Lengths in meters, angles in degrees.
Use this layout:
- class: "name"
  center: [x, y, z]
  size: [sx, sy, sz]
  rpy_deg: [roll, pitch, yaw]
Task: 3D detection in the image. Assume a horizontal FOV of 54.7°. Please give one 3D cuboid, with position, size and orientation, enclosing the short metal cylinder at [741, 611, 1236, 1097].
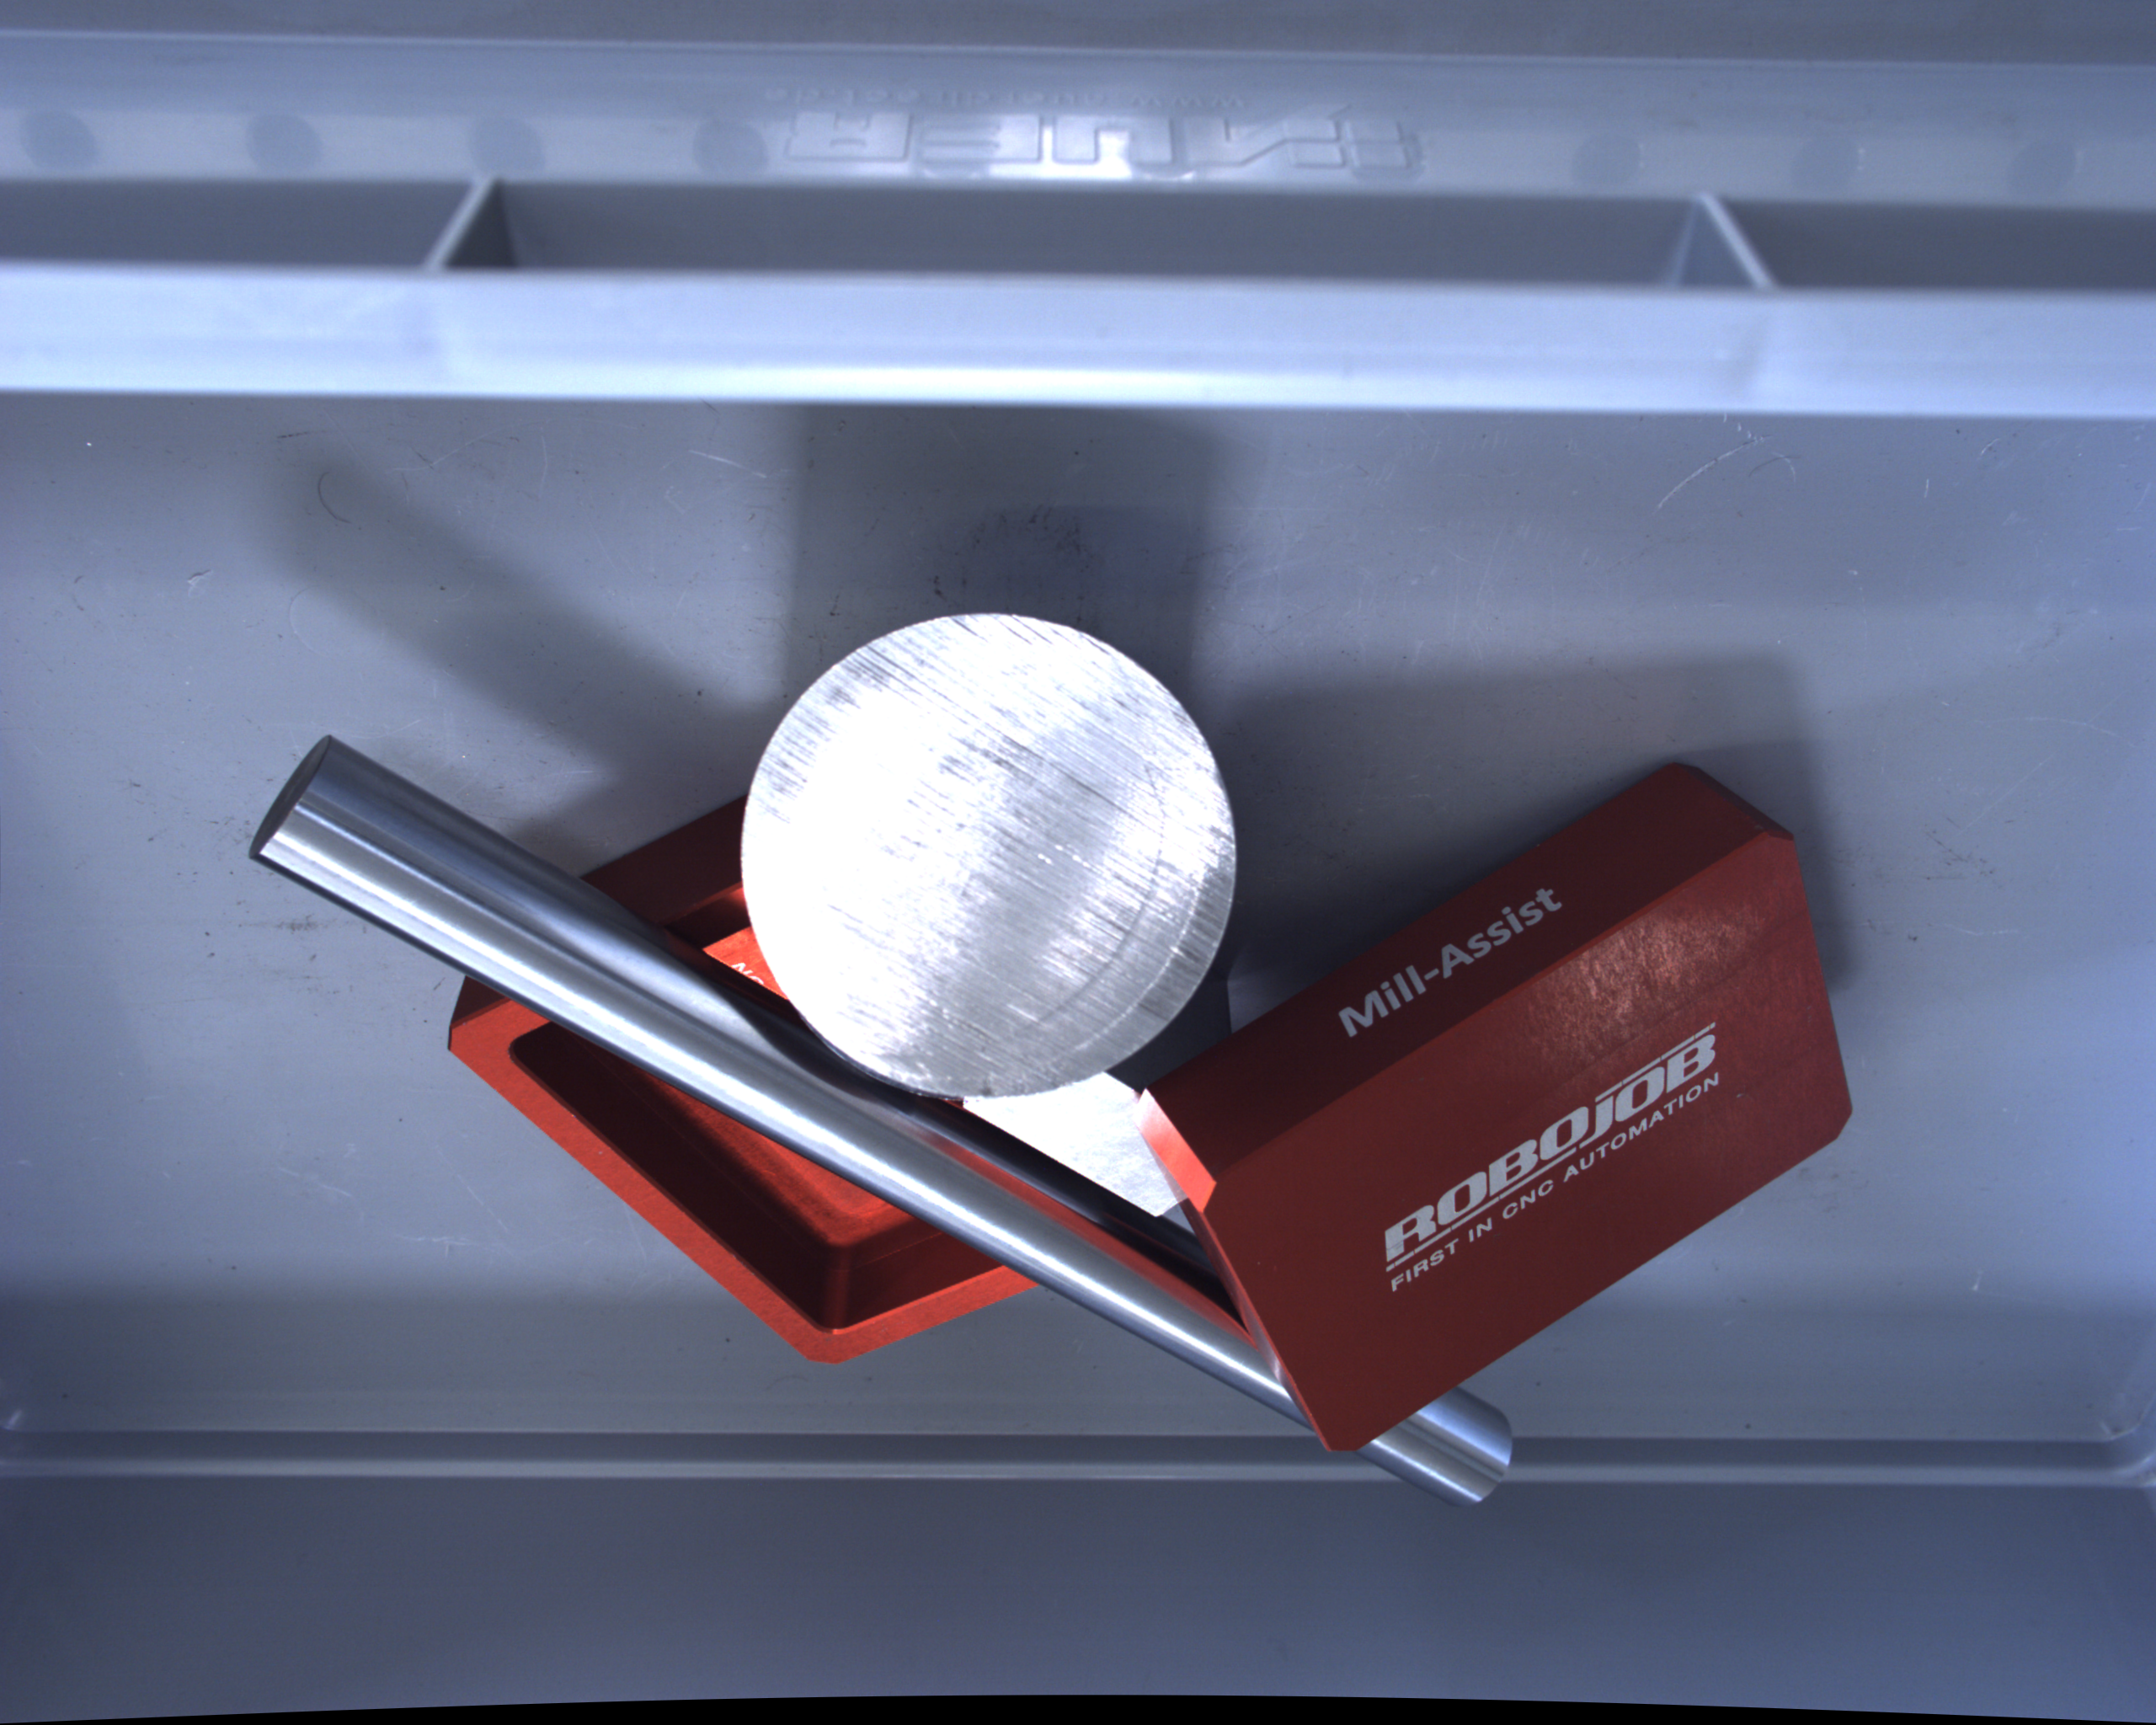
- class: "short metal cylinder"
  center: [-0.017, 0.001, 0.363]
  size: [0.081, 0.080, 0.050]
  rpy_deg: [6, 172, -6]

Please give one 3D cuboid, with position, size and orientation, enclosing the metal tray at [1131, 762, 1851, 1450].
- class: "metal tray"
  center: [0.085, 0.050, 0.413]
  size: [0.131, 0.030, 0.090]
  rpy_deg: [-31, 128, -6]

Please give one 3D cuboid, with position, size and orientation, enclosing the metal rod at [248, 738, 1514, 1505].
- class: "metal rod"
  center: [-0.021, 0.063, 0.421]
  size: [0.301, 0.025, 0.025]
  rpy_deg: [33, 123, -26]

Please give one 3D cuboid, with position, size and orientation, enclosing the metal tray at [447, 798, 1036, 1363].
- class: "metal tray"
  center: [-0.055, 0.049, 0.444]
  size: [0.090, 0.030, 0.130]
  rpy_deg: [-25, 126, 20]

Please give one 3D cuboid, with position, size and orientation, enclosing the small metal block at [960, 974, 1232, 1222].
- class: "small metal block"
  center: [0.005, 0.036, 0.421]
  size: [0.050, 0.050, 0.025]
  rpy_deg: [33, 123, -25]
